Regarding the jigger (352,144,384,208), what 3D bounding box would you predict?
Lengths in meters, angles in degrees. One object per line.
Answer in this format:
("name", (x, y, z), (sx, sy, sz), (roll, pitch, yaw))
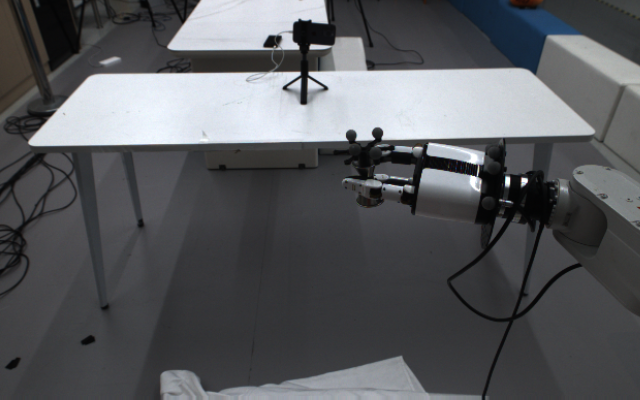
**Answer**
("jigger", (0.072, -0.031, 0.729), (0.043, 0.071, 0.043), (-9, 31, 5))
